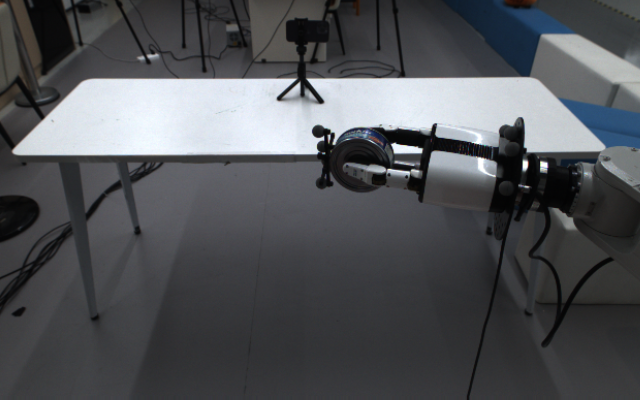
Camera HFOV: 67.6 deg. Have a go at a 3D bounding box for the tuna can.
[{"bbox_3d":[0.059,-0.053,0.657,0.085,0.085,0.034,9,32,10],"label":"tuna can"}]
